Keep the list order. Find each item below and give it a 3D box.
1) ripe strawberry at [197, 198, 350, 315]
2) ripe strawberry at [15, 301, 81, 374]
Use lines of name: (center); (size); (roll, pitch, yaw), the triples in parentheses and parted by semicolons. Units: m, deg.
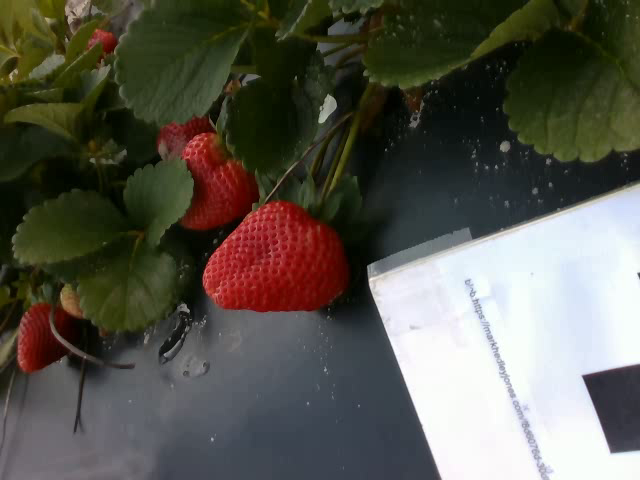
ripe strawberry: (-0.023, 0.013, 0.255); (0.056, 0.057, 0.065); (33, 44, 22)
ripe strawberry: (-0.174, 0.060, 0.377); (0.041, 0.051, 0.043); (26, -51, -23)
